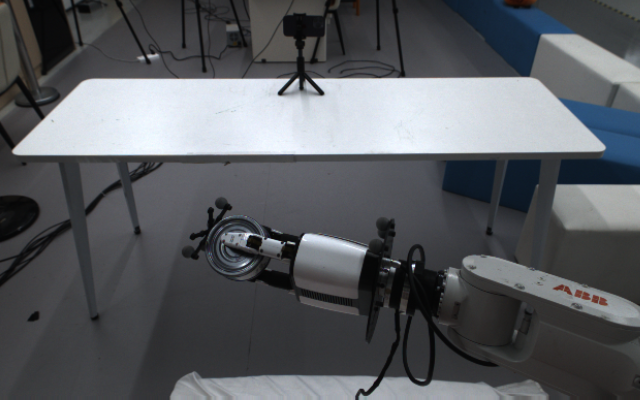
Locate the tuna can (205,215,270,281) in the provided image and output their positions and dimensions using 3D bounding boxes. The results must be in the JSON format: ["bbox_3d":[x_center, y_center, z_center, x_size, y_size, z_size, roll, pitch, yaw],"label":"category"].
[{"bbox_3d":[-0.105,0.068,0.647,0.085,0.034,0.085,-2,72,6],"label":"tuna can"}]
